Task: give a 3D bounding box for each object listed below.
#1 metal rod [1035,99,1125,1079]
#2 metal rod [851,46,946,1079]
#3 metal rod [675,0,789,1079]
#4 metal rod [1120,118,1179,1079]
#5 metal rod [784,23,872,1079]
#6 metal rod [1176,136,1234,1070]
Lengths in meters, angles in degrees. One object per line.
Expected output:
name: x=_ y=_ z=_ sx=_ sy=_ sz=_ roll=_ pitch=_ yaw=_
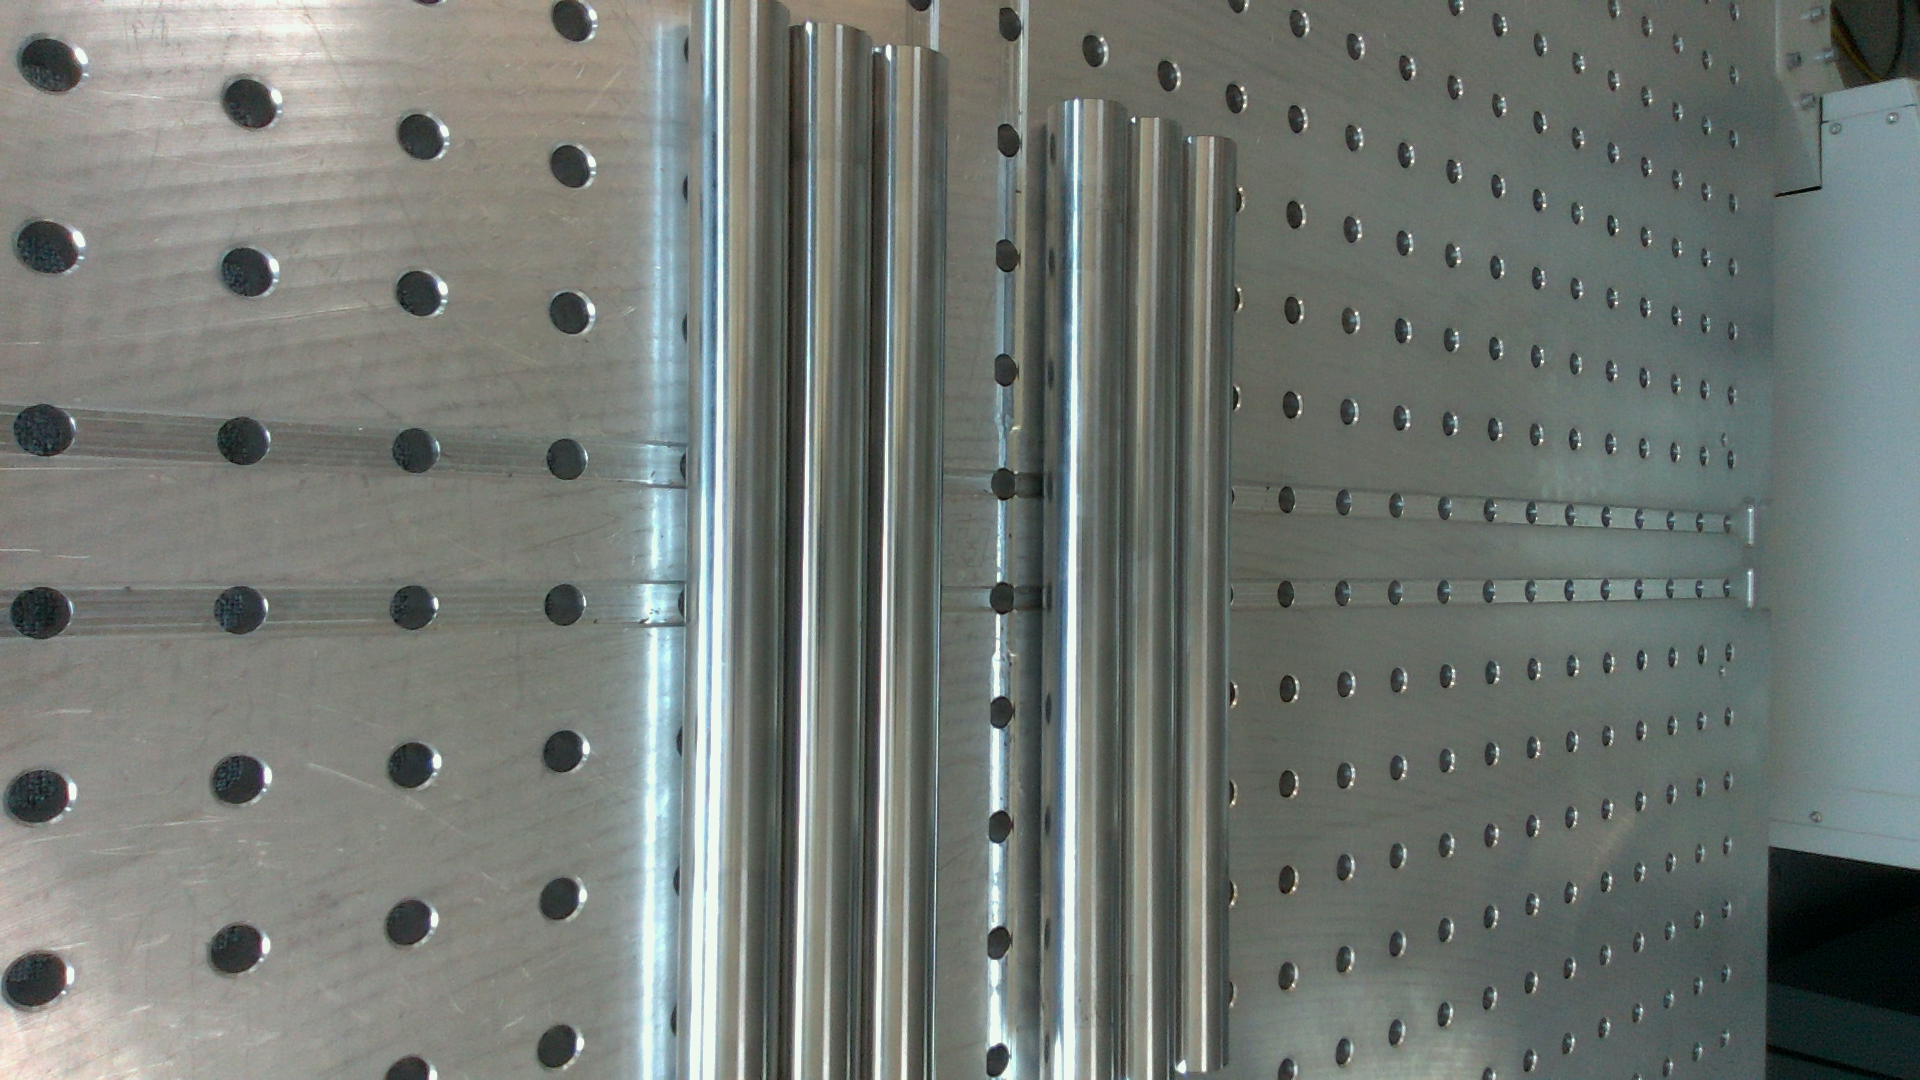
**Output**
metal rod: x=0.037 y=0.018 z=0.421 sx=0.025 sy=0.025 sz=0.300 roll=1 pitch=89 yaw=-40
metal rod: x=-0.018 y=0.019 z=0.376 sx=0.025 sy=0.025 sz=0.300 roll=1 pitch=89 yaw=-40
metal rod: x=-0.057 y=0.018 z=0.343 sx=0.025 sy=0.025 sz=0.300 roll=1 pitch=89 yaw=-40
metal rod: x=0.056 y=0.019 z=0.437 sx=0.025 sy=0.025 sz=0.300 roll=1 pitch=89 yaw=-40
metal rod: x=-0.037 y=0.019 z=0.360 sx=0.025 sy=0.025 sz=0.300 roll=1 pitch=89 yaw=-40
metal rod: x=0.076 y=0.020 z=0.454 sx=0.025 sy=0.025 sz=0.300 roll=1 pitch=89 yaw=-40
